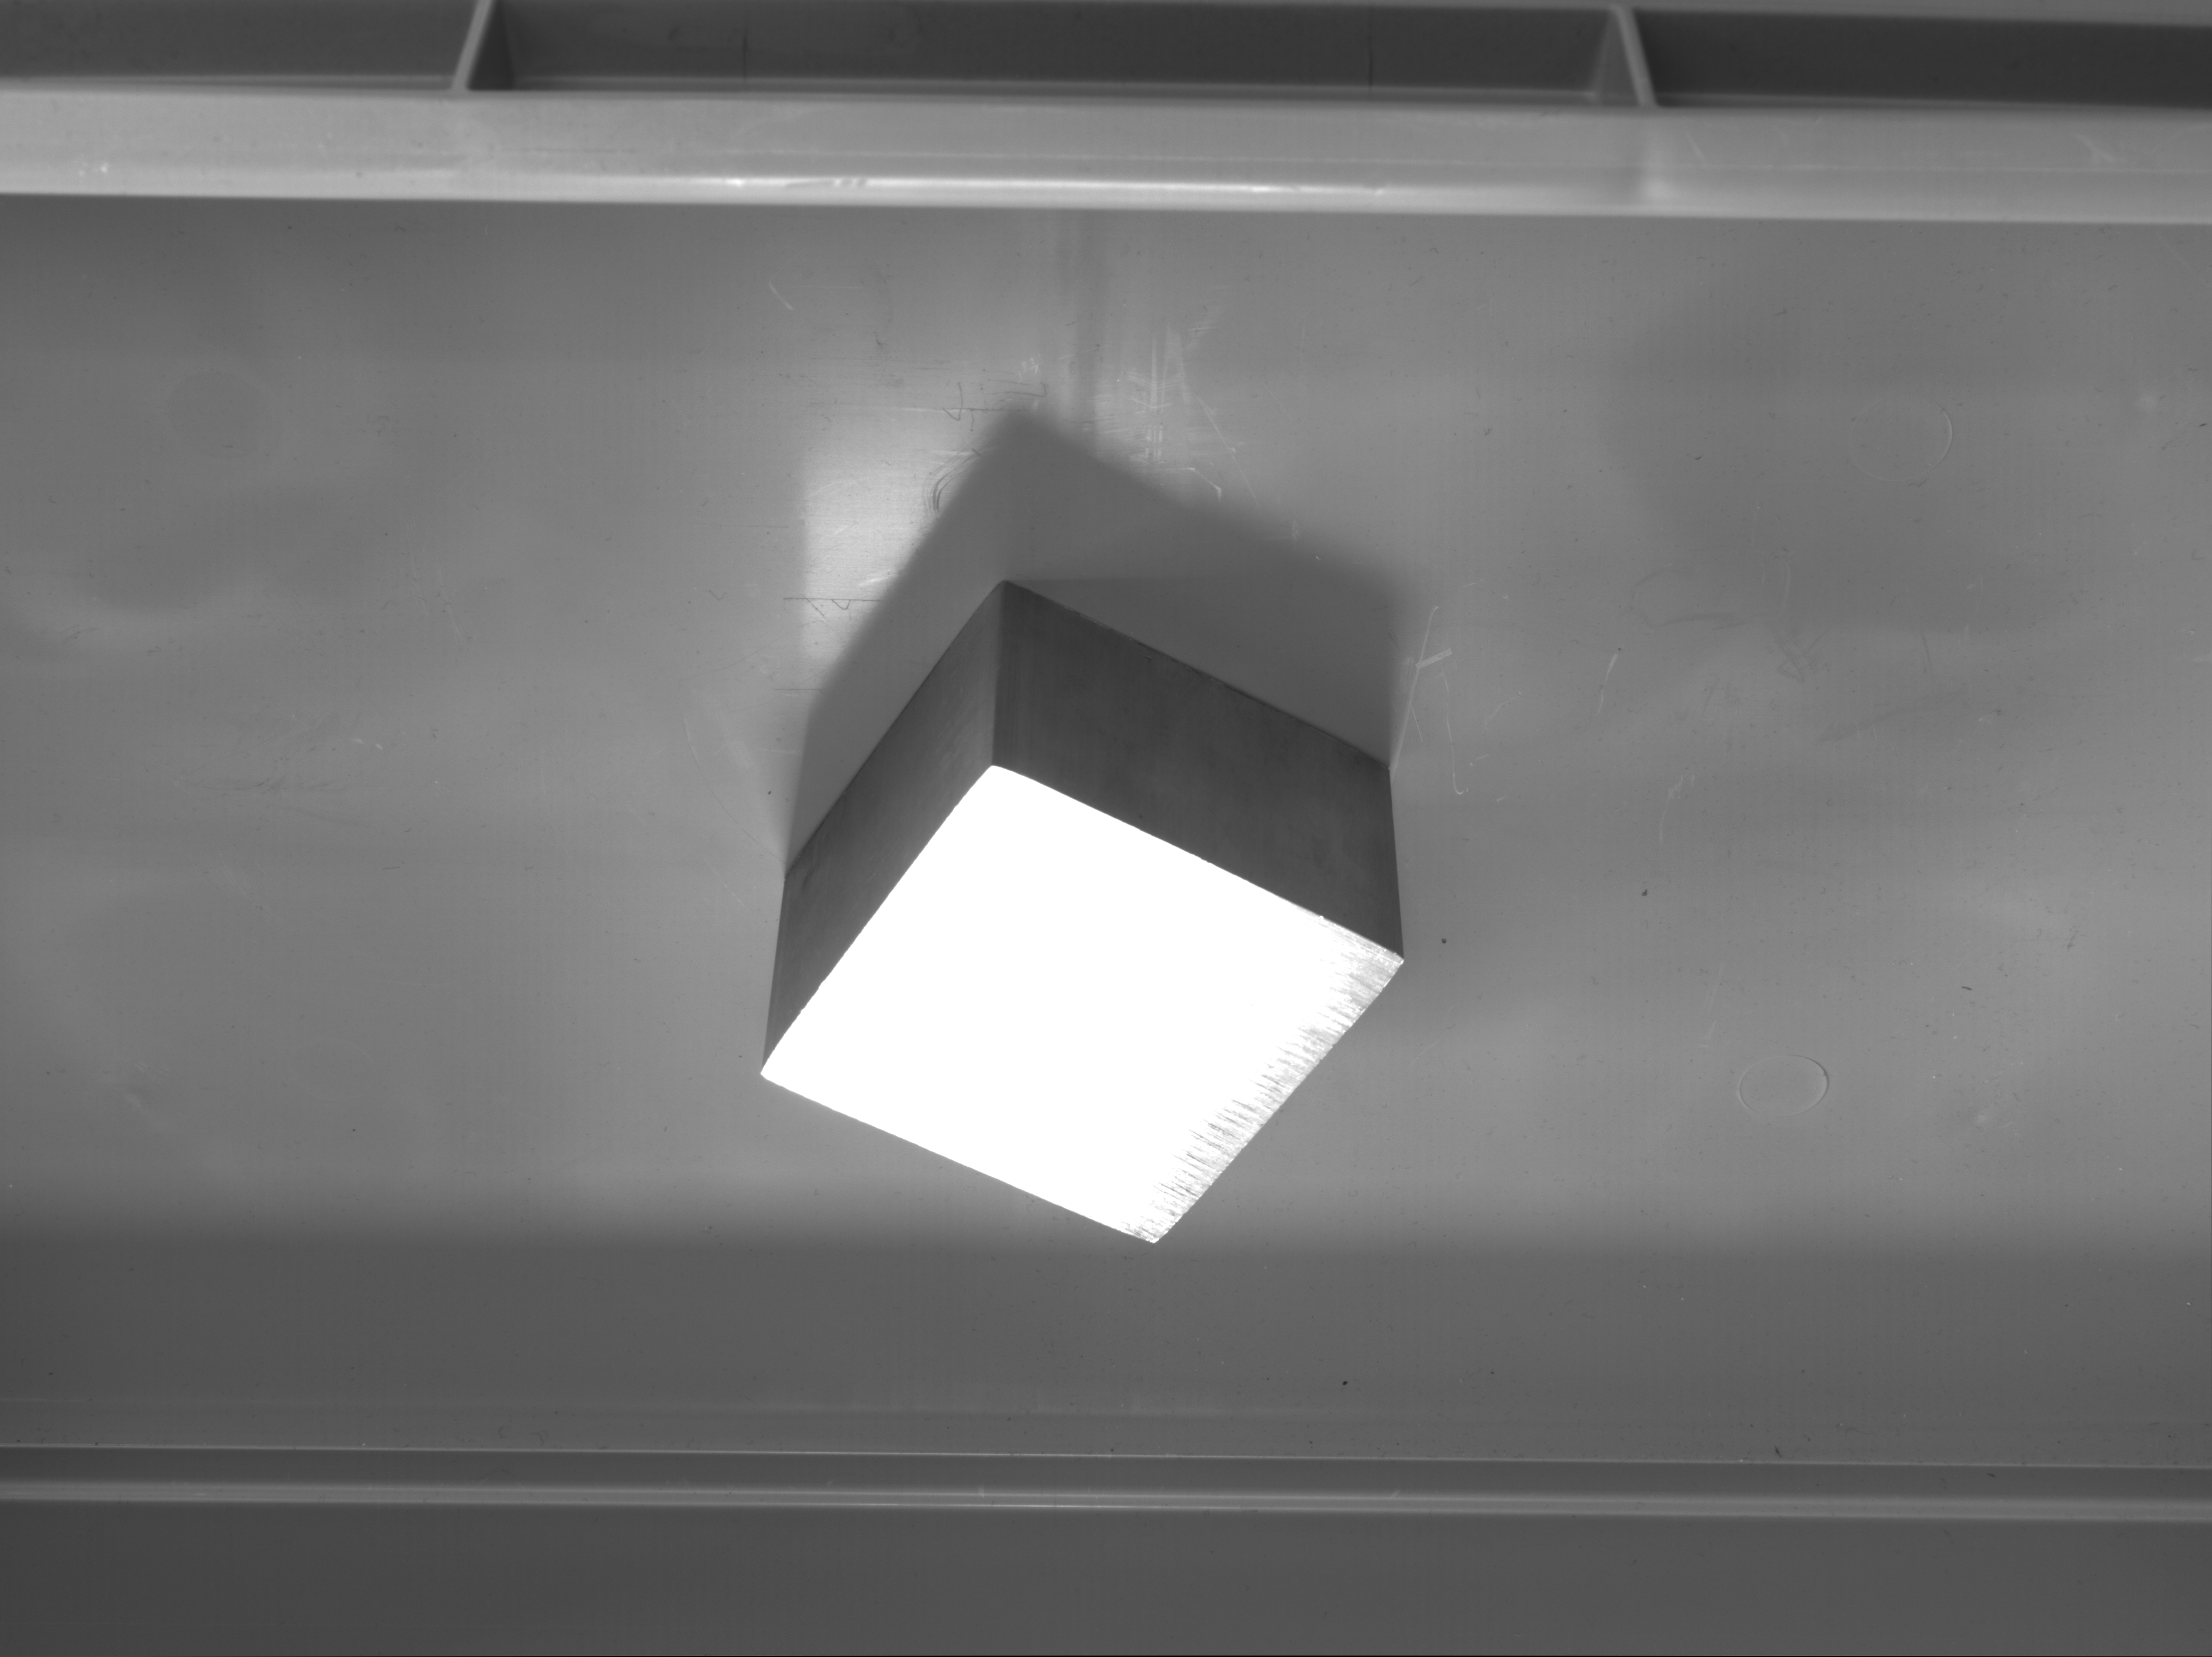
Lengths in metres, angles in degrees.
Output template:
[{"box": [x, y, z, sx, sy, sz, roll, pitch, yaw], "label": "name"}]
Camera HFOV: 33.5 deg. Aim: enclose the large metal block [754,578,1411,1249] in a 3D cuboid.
[{"box": [-0.005, 0.016, 0.633, 0.080, 0.050, 0.080, 25, 125, -20], "label": "large metal block"}]
